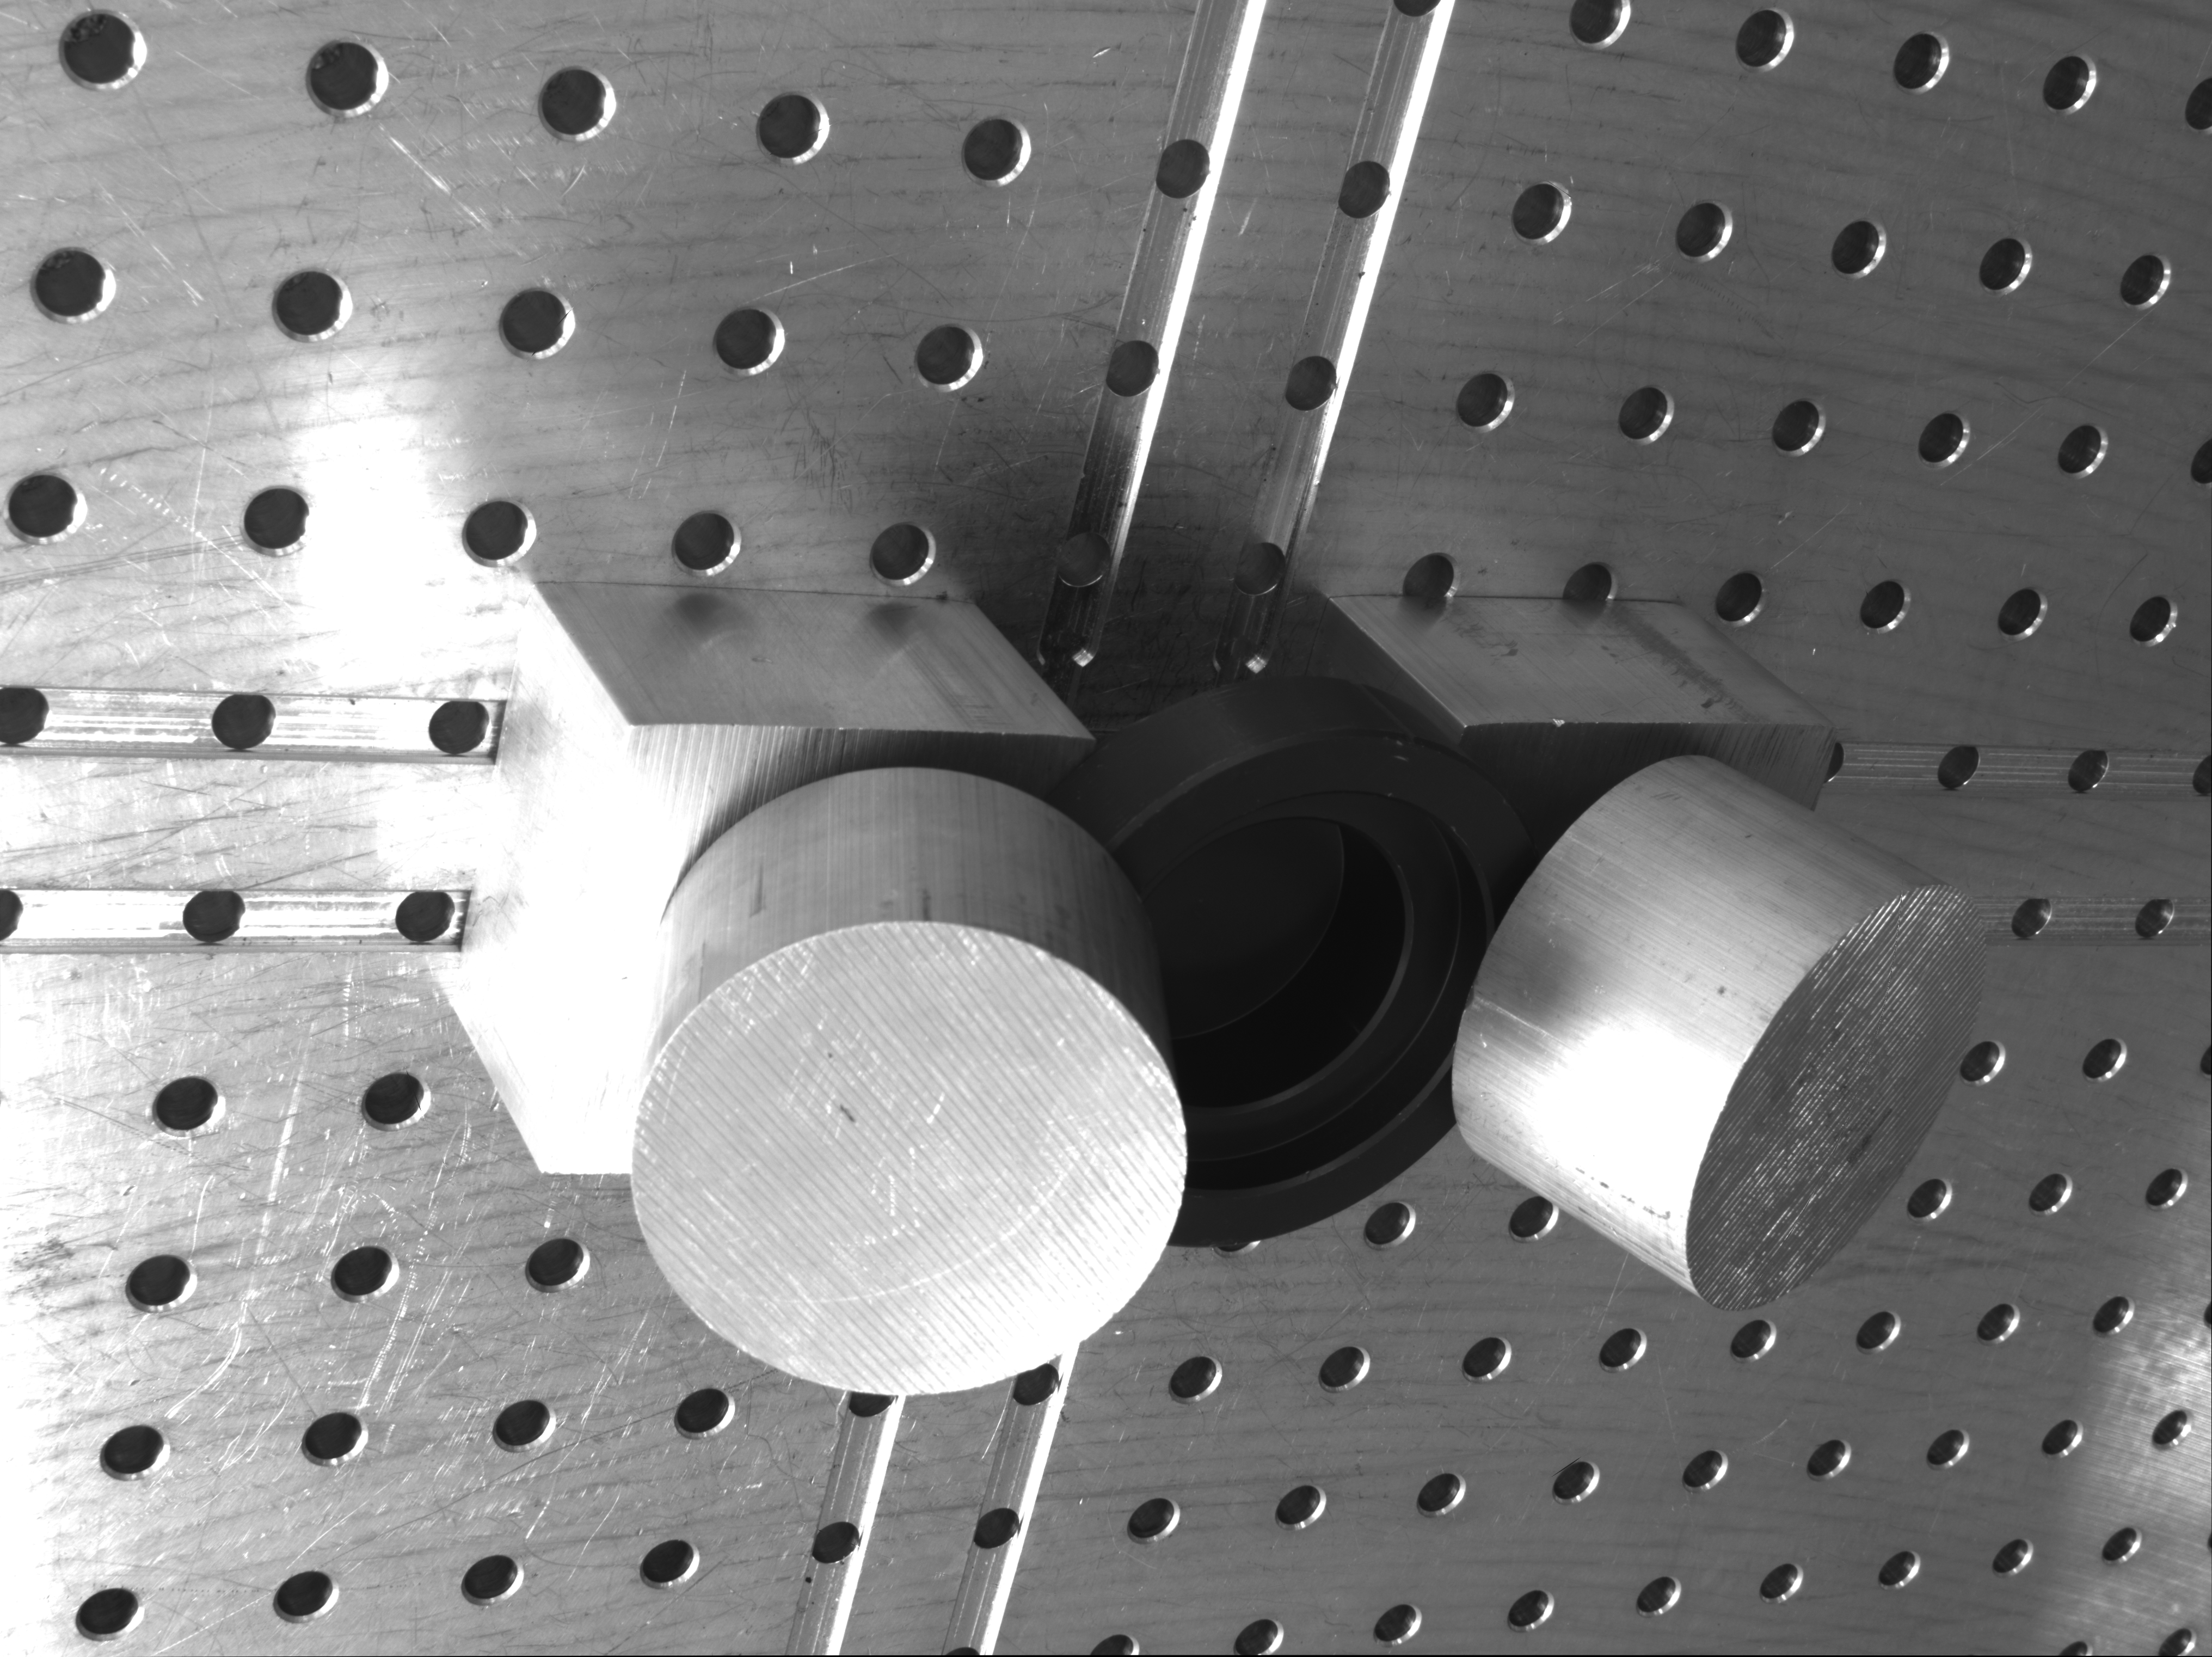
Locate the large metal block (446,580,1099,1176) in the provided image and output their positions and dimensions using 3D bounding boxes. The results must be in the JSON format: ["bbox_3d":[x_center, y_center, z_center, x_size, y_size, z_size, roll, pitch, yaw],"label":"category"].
[{"bbox_3d":[-0.056,0.008,0.599,0.080,0.050,0.080,1,118,-29],"label":"large metal block"}]

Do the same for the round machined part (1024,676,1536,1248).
[{"bbox_3d":[0.021,0.018,0.614,0.098,0.042,0.098,-14,124,-21],"label":"round machined part"}]

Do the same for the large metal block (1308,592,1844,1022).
[{"bbox_3d":[0.077,0.005,0.668,0.080,0.050,0.080,-1,119,-28],"label":"large metal block"}]

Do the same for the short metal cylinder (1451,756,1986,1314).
[{"bbox_3d":[0.104,0.035,0.620,0.080,0.050,0.080,-30,137,-33],"label":"short metal cylinder"}]

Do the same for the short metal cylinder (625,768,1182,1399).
[{"bbox_3d":[-0.030,0.038,0.550,0.080,0.050,0.080,-2,117,-3],"label":"short metal cylinder"}]
